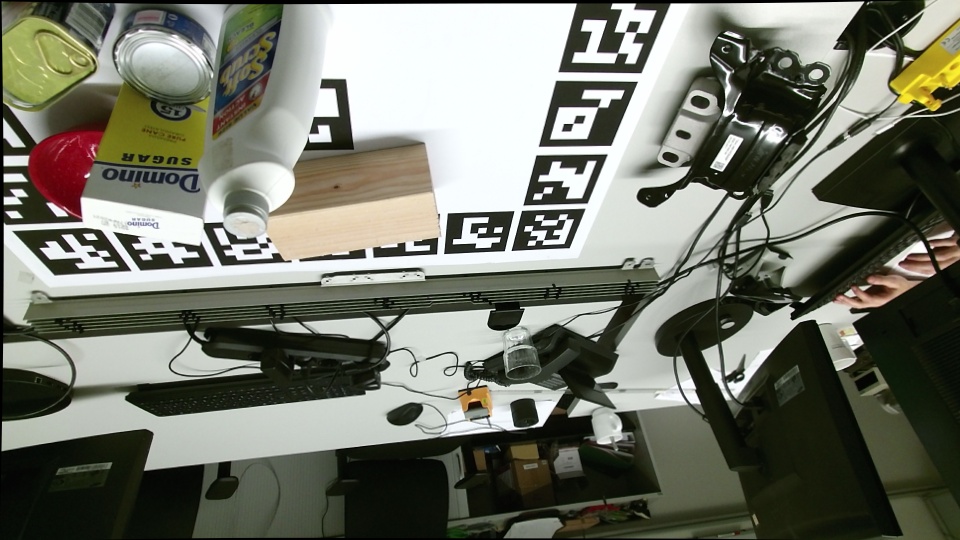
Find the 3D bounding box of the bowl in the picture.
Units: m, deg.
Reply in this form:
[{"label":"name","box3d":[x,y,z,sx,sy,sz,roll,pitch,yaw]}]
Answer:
[{"label":"bowl","box3d":[-0.411,-0.103,0.605,0.162,0.055,0.162,-11,146,-7]}]

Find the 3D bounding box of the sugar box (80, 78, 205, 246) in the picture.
[{"label":"sugar box","box3d":[-0.315,-0.106,0.517,0.093,0.175,0.045,6,140,-29]}]

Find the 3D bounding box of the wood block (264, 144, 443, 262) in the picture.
[{"label":"wood block","box3d":[-0.158,-0.084,0.678,0.207,0.089,0.091,-9,141,-1]}]

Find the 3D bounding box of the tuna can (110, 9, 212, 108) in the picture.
[{"label":"tuna can","box3d":[-0.298,-0.201,0.511,0.086,0.033,0.086,-8,142,-6]}]

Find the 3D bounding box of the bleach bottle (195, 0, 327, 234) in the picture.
[{"label":"bleach bottle","box3d":[-0.181,-0.138,0.449,0.103,0.249,0.068,-20,145,11]}]

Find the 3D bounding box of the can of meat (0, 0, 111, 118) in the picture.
[{"label":"can of meat","box3d":[-0.378,-0.195,0.466,0.102,0.083,0.058,-21,147,16]}]
